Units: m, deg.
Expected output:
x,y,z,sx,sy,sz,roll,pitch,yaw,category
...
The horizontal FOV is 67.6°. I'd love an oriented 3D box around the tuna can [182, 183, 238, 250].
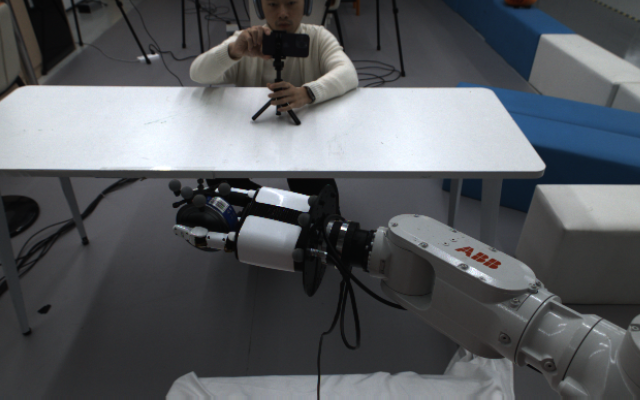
x,y,z,sx,sy,sz,roll,pitch,yaw,category
-0.164,0.033,0.710,0.085,0.085,0.034,11,33,13,tuna can
